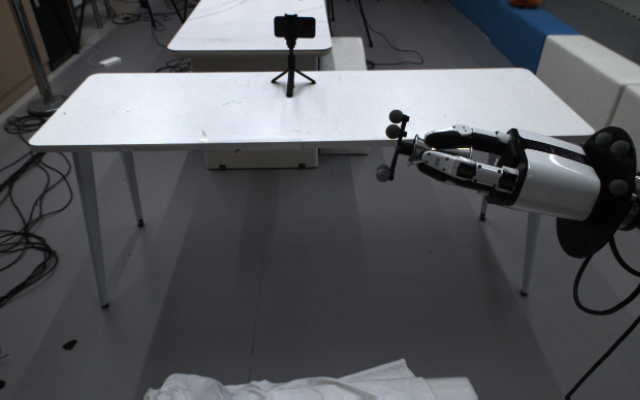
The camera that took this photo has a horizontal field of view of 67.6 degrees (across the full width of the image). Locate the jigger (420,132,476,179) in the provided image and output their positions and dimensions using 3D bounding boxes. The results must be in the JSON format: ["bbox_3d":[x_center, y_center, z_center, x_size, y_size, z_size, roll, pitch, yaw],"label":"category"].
[{"bbox_3d":[0.150,-0.055,0.588,0.071,0.043,0.043,14,36,4],"label":"jigger"}]
